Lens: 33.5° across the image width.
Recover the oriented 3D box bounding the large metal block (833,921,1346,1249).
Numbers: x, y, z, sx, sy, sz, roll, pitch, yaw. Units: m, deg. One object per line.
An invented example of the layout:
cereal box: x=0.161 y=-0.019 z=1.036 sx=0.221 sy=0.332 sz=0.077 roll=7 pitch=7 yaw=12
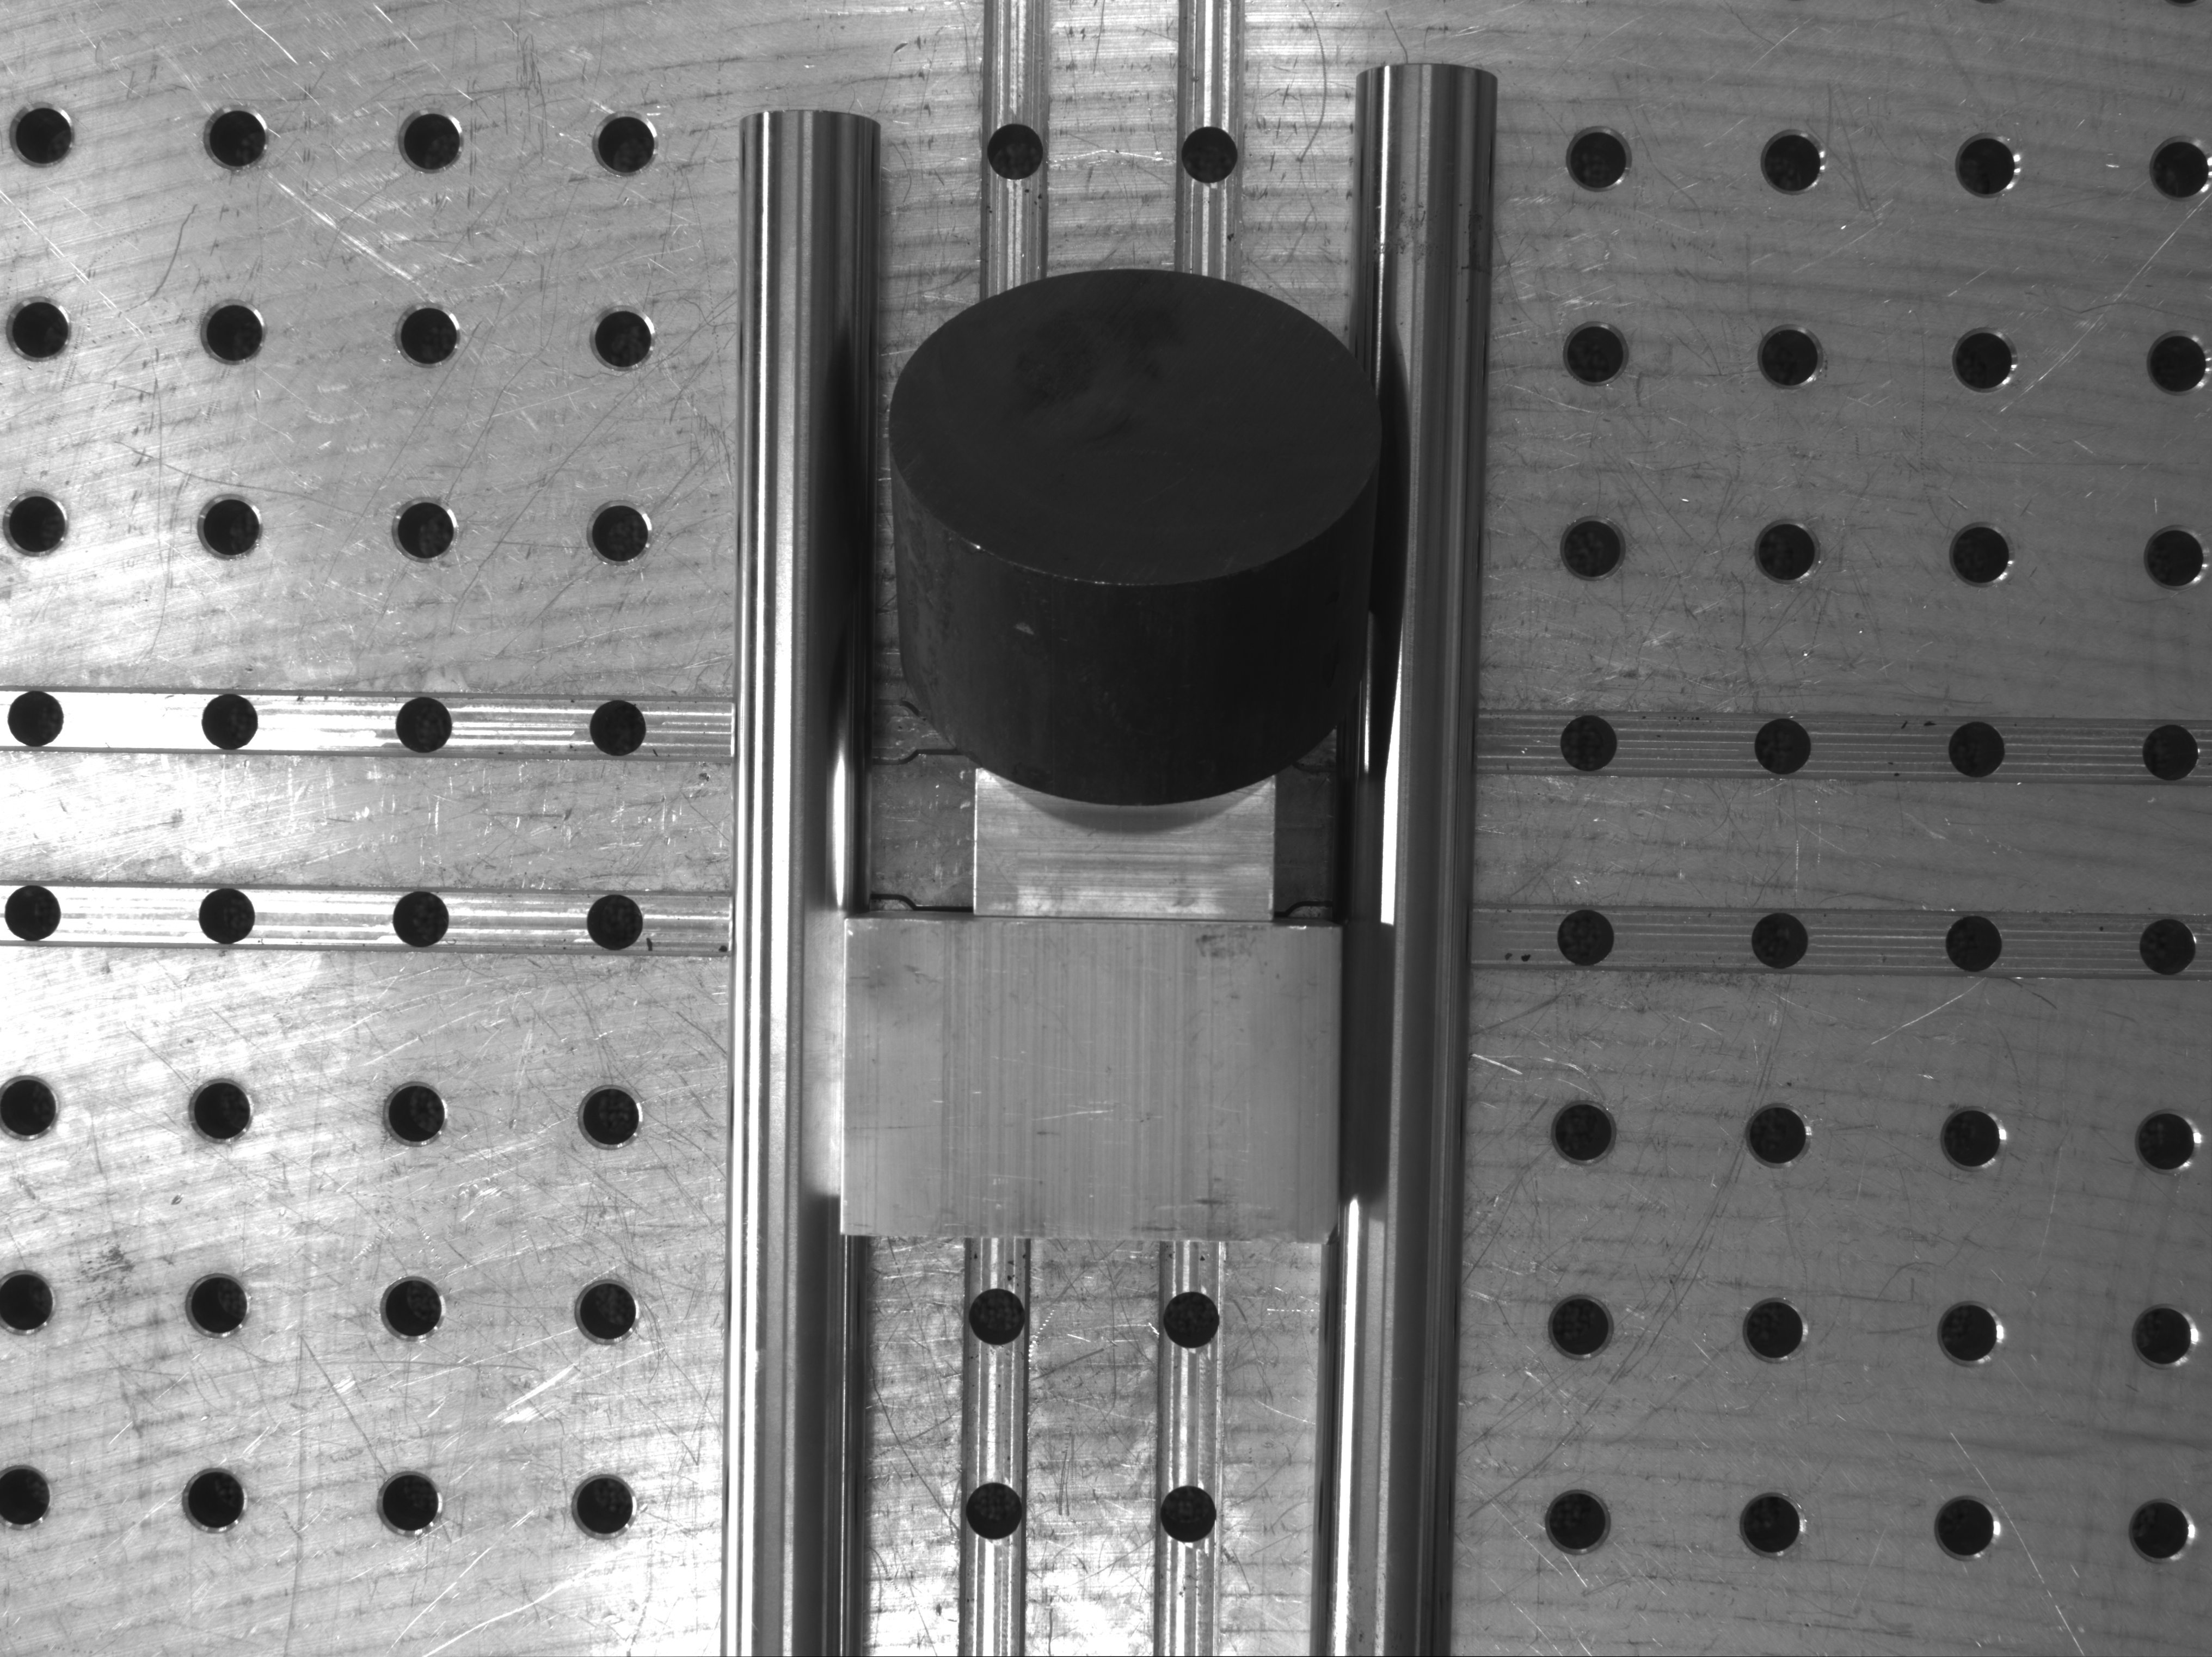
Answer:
large metal block: x=-0.002 y=0.041 z=0.618 sx=0.080 sy=0.080 sz=0.050 roll=1 pitch=90 yaw=0

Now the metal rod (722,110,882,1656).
metal rod: x=-0.054 y=0.026 z=0.648 sx=0.025 sy=0.025 sz=0.300 roll=1 pitch=90 yaw=0

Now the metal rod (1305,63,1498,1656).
metal rod: x=0.052 y=0.018 z=0.648 sx=0.025 sy=0.025 sz=0.300 roll=2 pitch=90 yaw=0

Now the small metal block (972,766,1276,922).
small metal block: x=0.003 y=0.003 z=0.636 sx=0.050 sy=0.050 sz=0.025 roll=1 pitch=90 yaw=0

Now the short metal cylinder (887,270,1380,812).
short metal cylinder: x=0.004 y=-0.049 z=0.614 sx=0.080 sy=0.050 sz=0.080 roll=1 pitch=46 yaw=0
